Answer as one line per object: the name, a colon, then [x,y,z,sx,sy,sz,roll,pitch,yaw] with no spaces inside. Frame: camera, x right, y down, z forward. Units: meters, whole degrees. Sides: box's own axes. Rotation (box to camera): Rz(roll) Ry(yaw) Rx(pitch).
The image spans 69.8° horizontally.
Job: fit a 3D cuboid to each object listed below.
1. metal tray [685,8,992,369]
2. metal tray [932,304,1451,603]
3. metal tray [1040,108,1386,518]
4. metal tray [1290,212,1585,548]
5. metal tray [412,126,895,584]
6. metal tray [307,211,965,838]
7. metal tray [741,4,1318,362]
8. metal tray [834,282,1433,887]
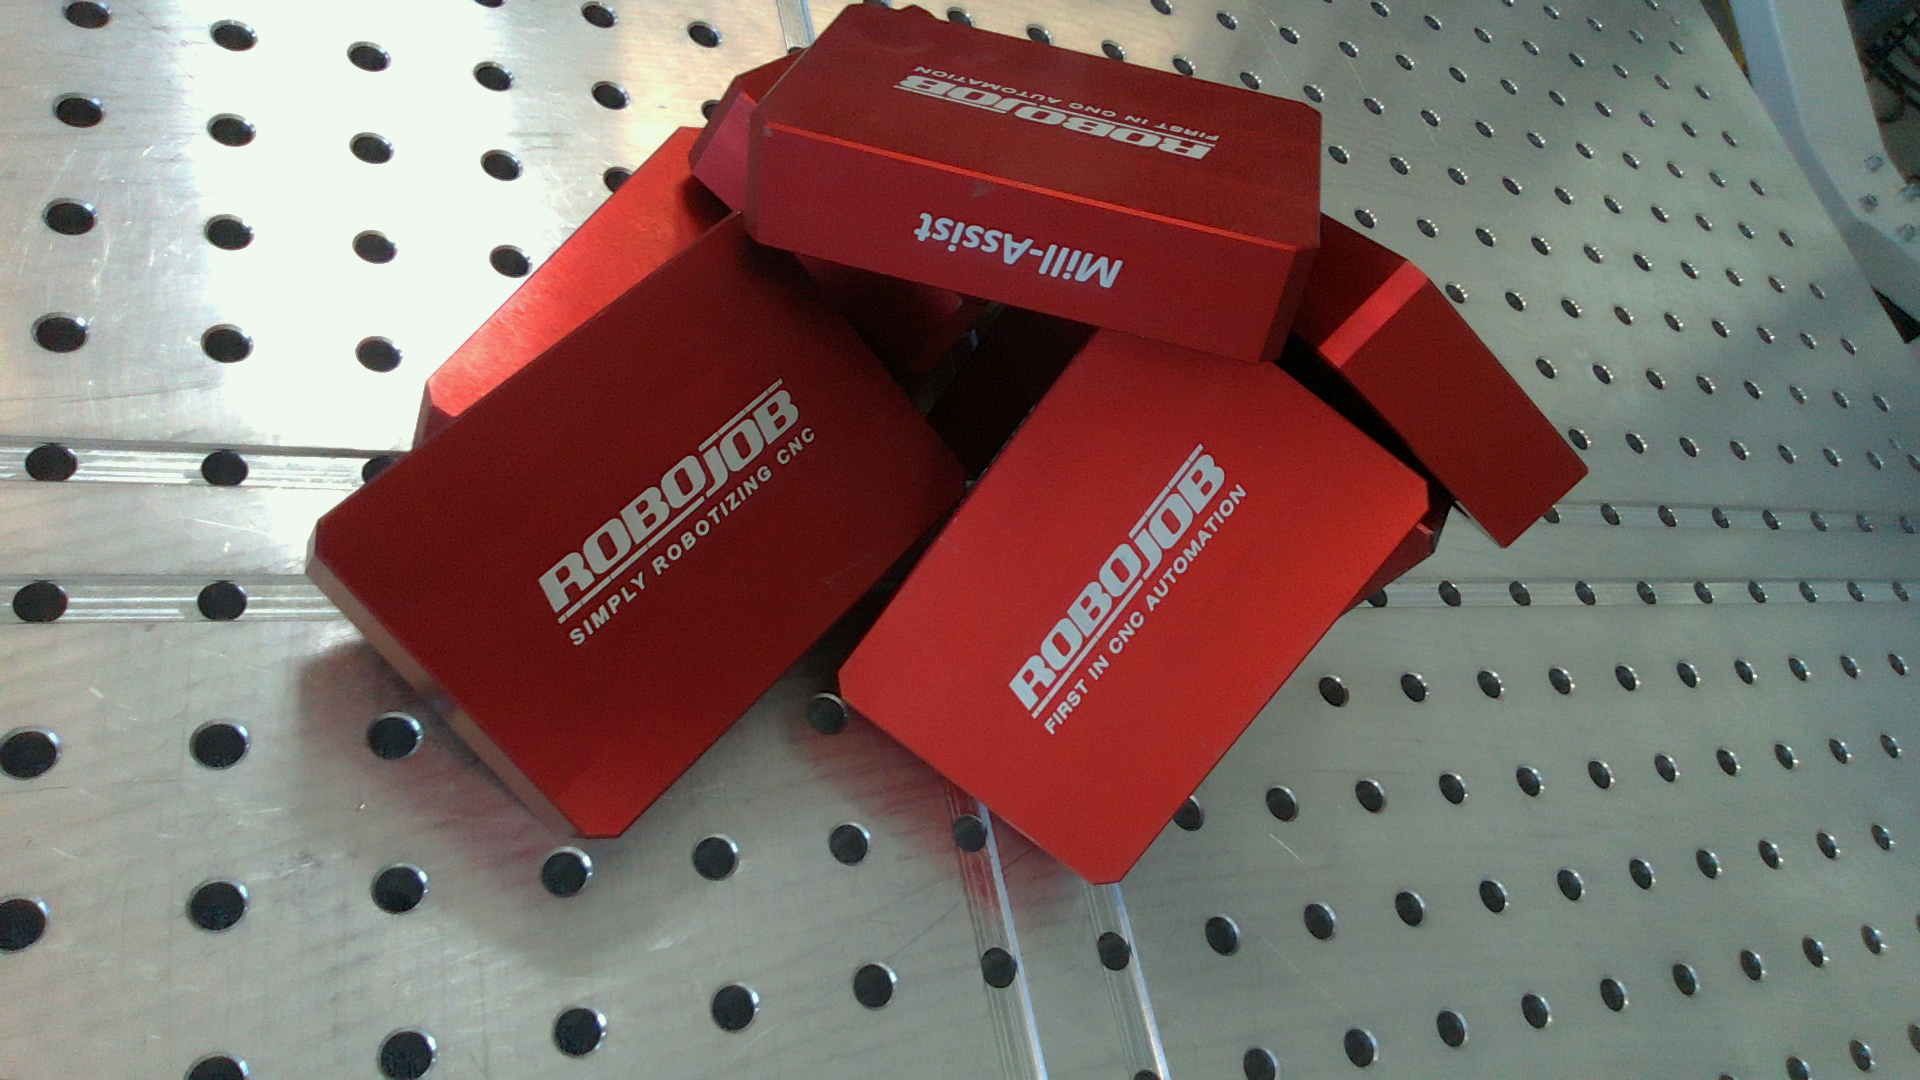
metal tray: [-0.013,-0.114,0.428,0.090,0.030,0.130,41,37,-2]
metal tray: [0.064,-0.026,0.402,0.130,0.090,0.030,38,51,-2]
metal tray: [0.084,-0.071,0.449,0.130,0.030,0.090,24,50,-39]
metal tray: [0.115,-0.059,0.406,0.090,0.030,0.130,39,12,-28]
metal tray: [-0.073,-0.048,0.379,0.090,0.030,0.130,34,51,-6]
metal tray: [-0.071,-0.006,0.326,0.130,0.030,0.090,-45,104,-28]
metal tray: [0.021,-0.093,0.344,0.130,0.030,0.090,14,39,4]
metal tray: [0.042,0.011,0.349,0.090,0.130,0.030,37,9,-4]
